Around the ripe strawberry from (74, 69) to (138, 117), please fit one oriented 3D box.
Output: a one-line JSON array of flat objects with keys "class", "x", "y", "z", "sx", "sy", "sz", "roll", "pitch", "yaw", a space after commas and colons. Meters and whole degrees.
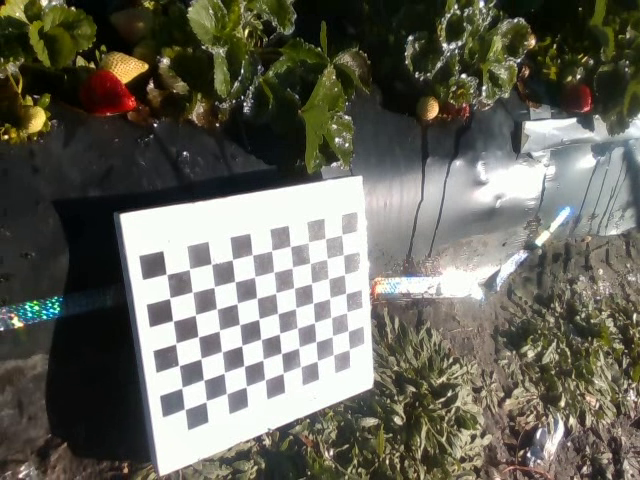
[{"class": "ripe strawberry", "x": -0.167, "y": -0.117, "z": 0.515, "sx": 0.053, "sy": 0.040, "sz": 0.042, "roll": 25, "pitch": -26, "yaw": 27}]
